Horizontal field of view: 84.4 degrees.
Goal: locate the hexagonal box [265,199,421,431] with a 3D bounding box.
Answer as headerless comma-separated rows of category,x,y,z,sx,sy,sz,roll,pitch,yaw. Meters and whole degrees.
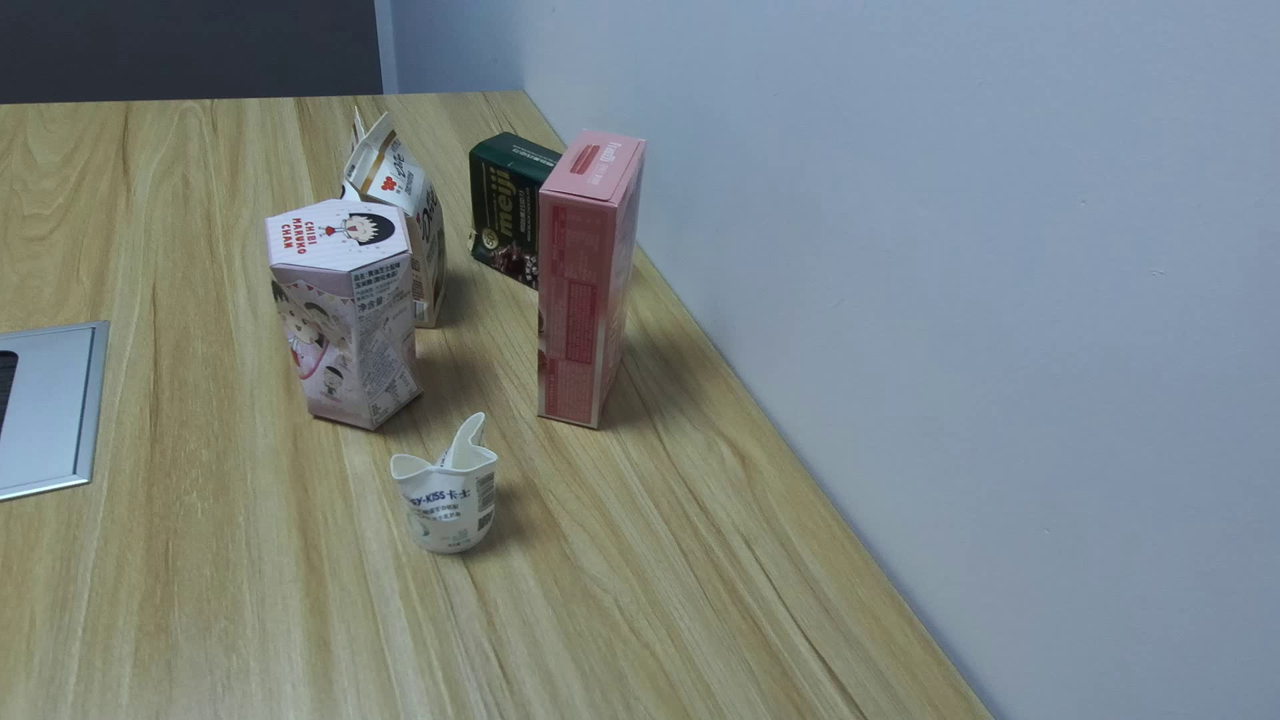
hexagonal box,-0.194,-0.031,0.476,0.088,0.134,0.093,27,44,18

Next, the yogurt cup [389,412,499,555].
yogurt cup,-0.114,0.075,0.422,0.055,0.072,0.055,-5,46,-14

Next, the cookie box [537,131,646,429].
cookie box,-0.035,-0.051,0.492,0.048,0.184,0.096,11,40,3

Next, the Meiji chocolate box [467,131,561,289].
Meiji chocolate box,-0.089,-0.123,0.608,0.122,0.116,0.058,28,44,20

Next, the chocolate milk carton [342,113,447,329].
chocolate milk carton,-0.196,-0.110,0.549,0.074,0.155,0.076,3,42,-5
